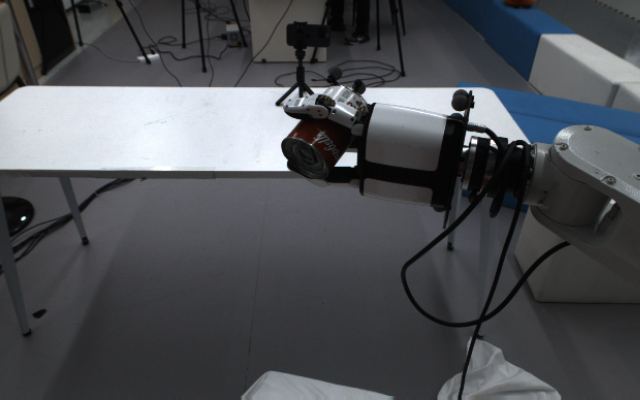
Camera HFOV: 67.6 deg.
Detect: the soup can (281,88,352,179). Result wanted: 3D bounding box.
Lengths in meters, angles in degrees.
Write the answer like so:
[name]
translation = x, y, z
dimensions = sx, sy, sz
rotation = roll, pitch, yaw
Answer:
[soup can]
translation = 0.010, -0.085, 0.590
dimensions = 0.067, 0.067, 0.101
rotation = 22, 61, 26
